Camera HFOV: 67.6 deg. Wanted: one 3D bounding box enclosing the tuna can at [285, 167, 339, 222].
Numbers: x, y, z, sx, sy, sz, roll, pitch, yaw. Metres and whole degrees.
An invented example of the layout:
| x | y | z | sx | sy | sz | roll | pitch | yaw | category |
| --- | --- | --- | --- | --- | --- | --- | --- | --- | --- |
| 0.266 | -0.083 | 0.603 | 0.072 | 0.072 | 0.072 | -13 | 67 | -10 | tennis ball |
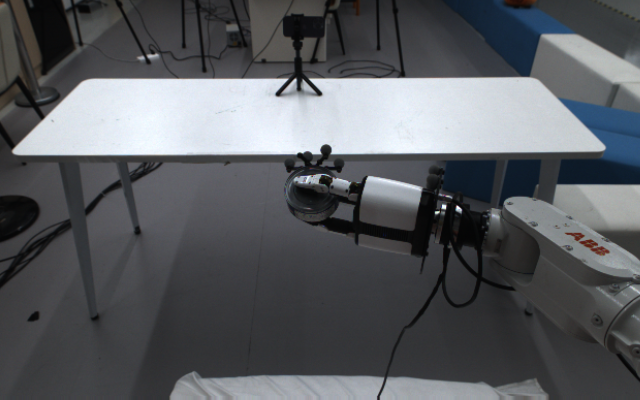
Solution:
| x | y | z | sx | sy | sz | roll | pitch | yaw | category |
| --- | --- | --- | --- | --- | --- | --- | --- | --- | --- |
| -0.010 | -0.006 | 0.745 | 0.085 | 0.034 | 0.085 | -1 | 58 | 2 | tuna can |
